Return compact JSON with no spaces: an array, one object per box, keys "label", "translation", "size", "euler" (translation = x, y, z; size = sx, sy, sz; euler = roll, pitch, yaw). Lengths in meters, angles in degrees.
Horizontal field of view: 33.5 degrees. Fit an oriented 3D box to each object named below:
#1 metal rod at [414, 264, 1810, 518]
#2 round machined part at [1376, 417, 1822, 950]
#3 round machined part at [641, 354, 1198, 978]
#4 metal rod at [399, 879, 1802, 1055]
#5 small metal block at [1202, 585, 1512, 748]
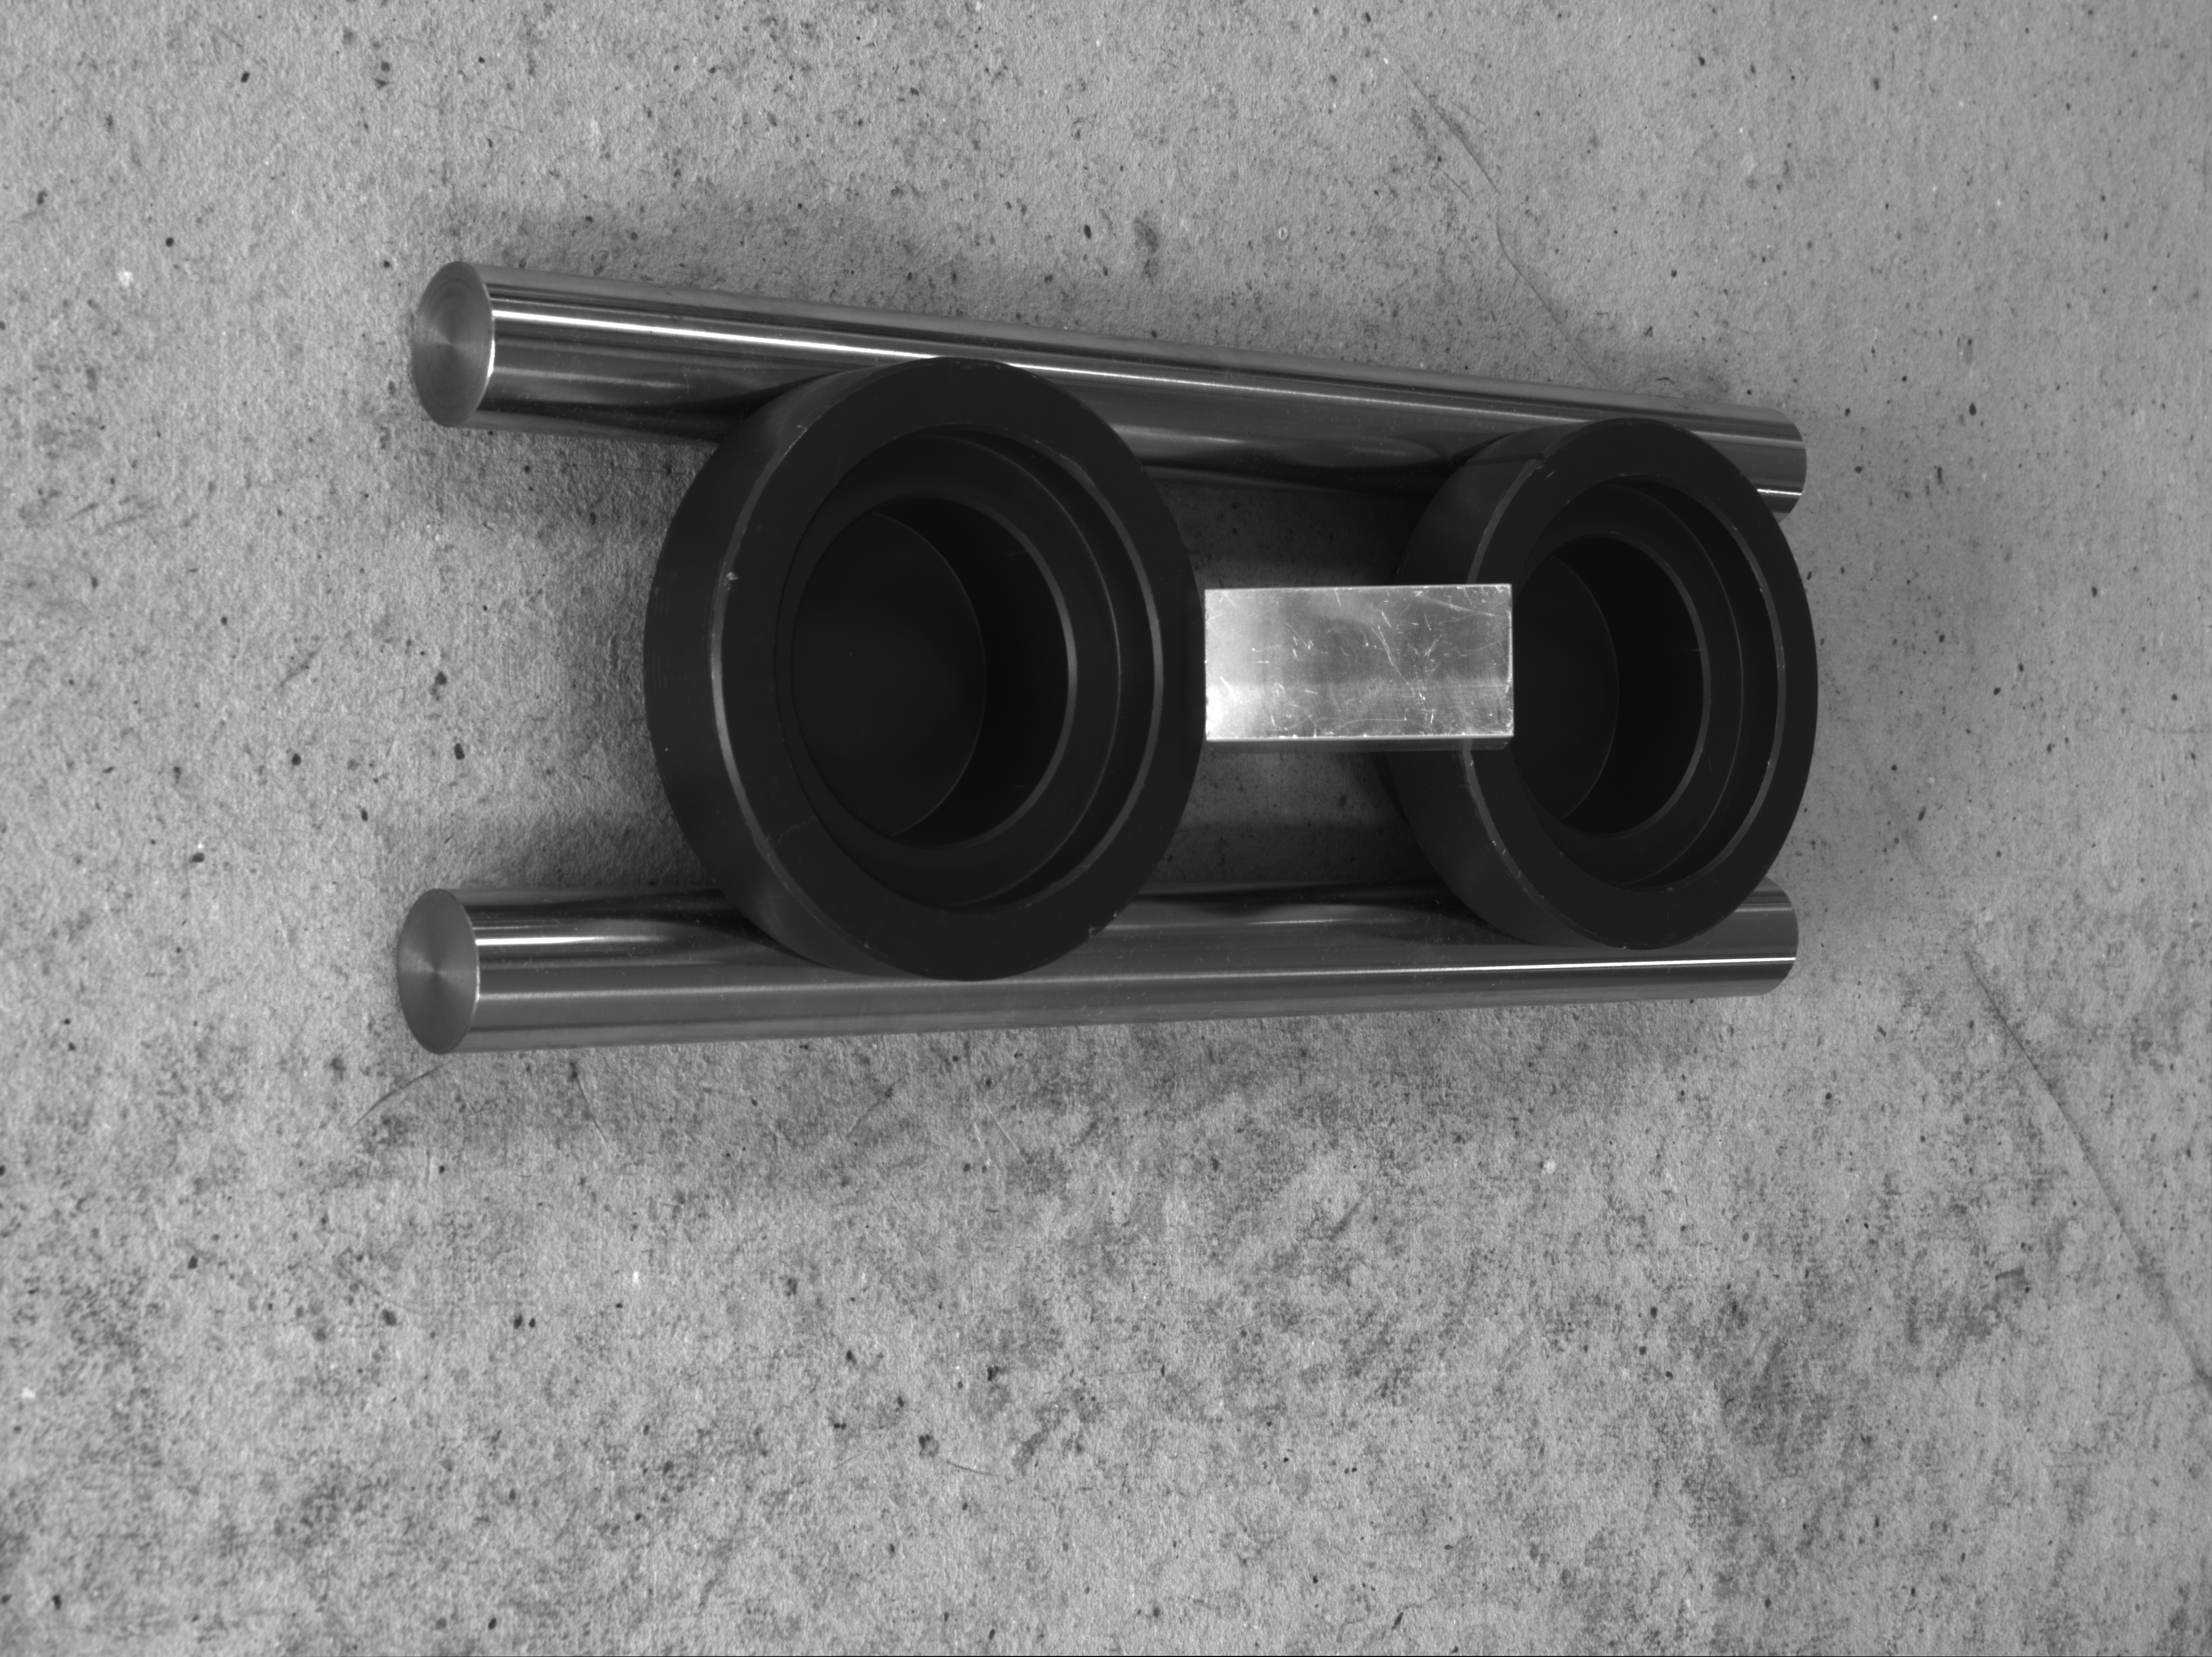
[{"label":"metal rod","translation":[0.018,-0.072,0.651],"size":[0.301,0.025,0.025],"euler":[0,90,-40]},{"label":"round machined part","translation":[0.087,-0.027,0.691],"size":[0.098,0.042,0.098],"euler":[0,90,-40]},{"label":"round machined part","translation":[-0.034,-0.025,0.592],"size":[0.098,0.042,0.098],"euler":[0,90,-40]},{"label":"metal rod","translation":[0.016,0.022,0.649],"size":[0.301,0.025,0.025],"euler":[0,90,-40]},{"label":"small metal block","translation":[0.042,-0.026,0.622],"size":[0.050,0.050,0.025],"euler":[-1,89,4]}]
